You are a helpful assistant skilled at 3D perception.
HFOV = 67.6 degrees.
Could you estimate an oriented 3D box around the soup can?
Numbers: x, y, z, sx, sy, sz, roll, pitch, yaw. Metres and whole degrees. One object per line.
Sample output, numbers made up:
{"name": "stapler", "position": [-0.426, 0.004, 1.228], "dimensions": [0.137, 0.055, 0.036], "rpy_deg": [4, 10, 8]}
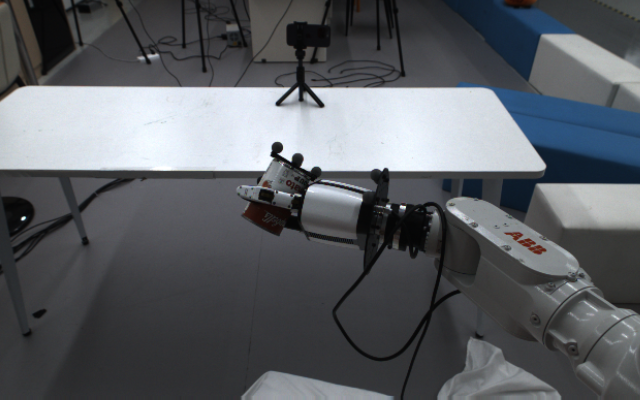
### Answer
{"name": "soup can", "position": [-0.067, -0.004, 0.740], "dimensions": [0.067, 0.101, 0.067], "rpy_deg": [29, -3, 1]}
